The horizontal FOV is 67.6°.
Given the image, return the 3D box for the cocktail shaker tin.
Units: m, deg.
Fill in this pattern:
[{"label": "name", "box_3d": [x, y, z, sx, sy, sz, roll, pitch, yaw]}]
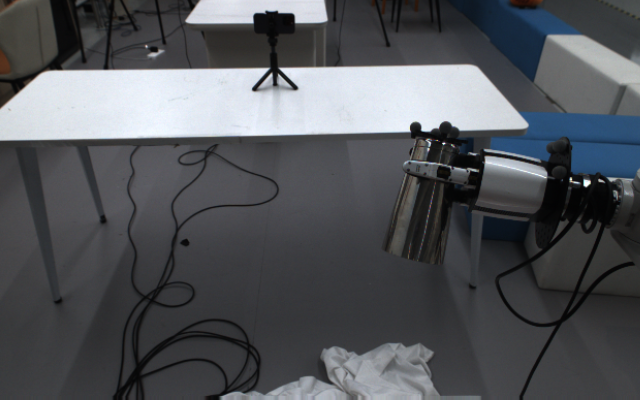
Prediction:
[{"label": "cocktail shaker tin", "box_3d": [0.156, -0.002, 0.716, 0.093, 0.170, 0.093, 13, 3, -1]}]
